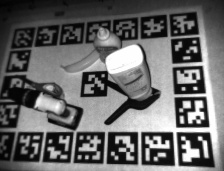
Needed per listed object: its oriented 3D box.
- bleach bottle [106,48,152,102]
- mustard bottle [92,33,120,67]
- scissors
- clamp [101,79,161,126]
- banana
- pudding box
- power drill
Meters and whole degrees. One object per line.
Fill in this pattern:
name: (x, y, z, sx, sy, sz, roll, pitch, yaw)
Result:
bleach bottle: (0.073, -0.008, 0.625, 0.102, 0.254, 0.067, -23, 63, 12)
mustard bottle: (-0.018, -0.119, 0.734, 0.095, 0.193, 0.058, 11, 73, 15)
scissors: (-0.272, 0.007, 0.720, 0.201, 0.016, 0.088, 23, 81, 13)
clamp: (0.060, 0.044, 0.723, 0.202, 0.037, 0.165, -8, 72, 7)
banana: (-0.109, -0.107, 0.819, 0.197, 0.039, 0.073, -39, 51, -3)
pudding box: (-0.249, 0.035, 0.775, 0.113, 0.091, 0.038, 2, 64, 12)
power drill: (-0.212, 0.086, 0.666, 0.183, 0.189, 0.057, 10, 66, 18)
